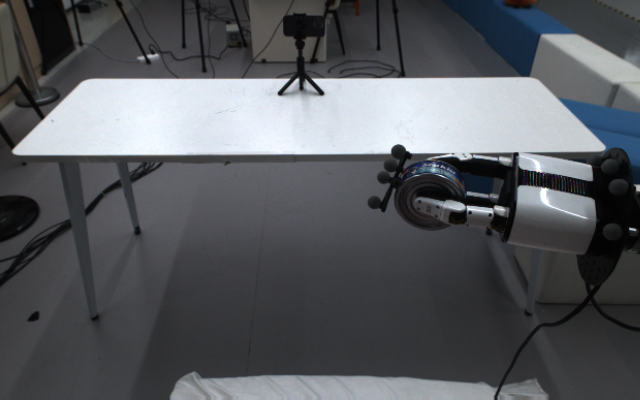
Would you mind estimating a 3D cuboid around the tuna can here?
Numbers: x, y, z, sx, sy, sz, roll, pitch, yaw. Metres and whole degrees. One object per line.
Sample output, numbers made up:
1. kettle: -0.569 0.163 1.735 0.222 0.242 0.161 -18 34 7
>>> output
1. tuna can: 0.138 -0.007 0.596 0.085 0.085 0.034 9 35 9
